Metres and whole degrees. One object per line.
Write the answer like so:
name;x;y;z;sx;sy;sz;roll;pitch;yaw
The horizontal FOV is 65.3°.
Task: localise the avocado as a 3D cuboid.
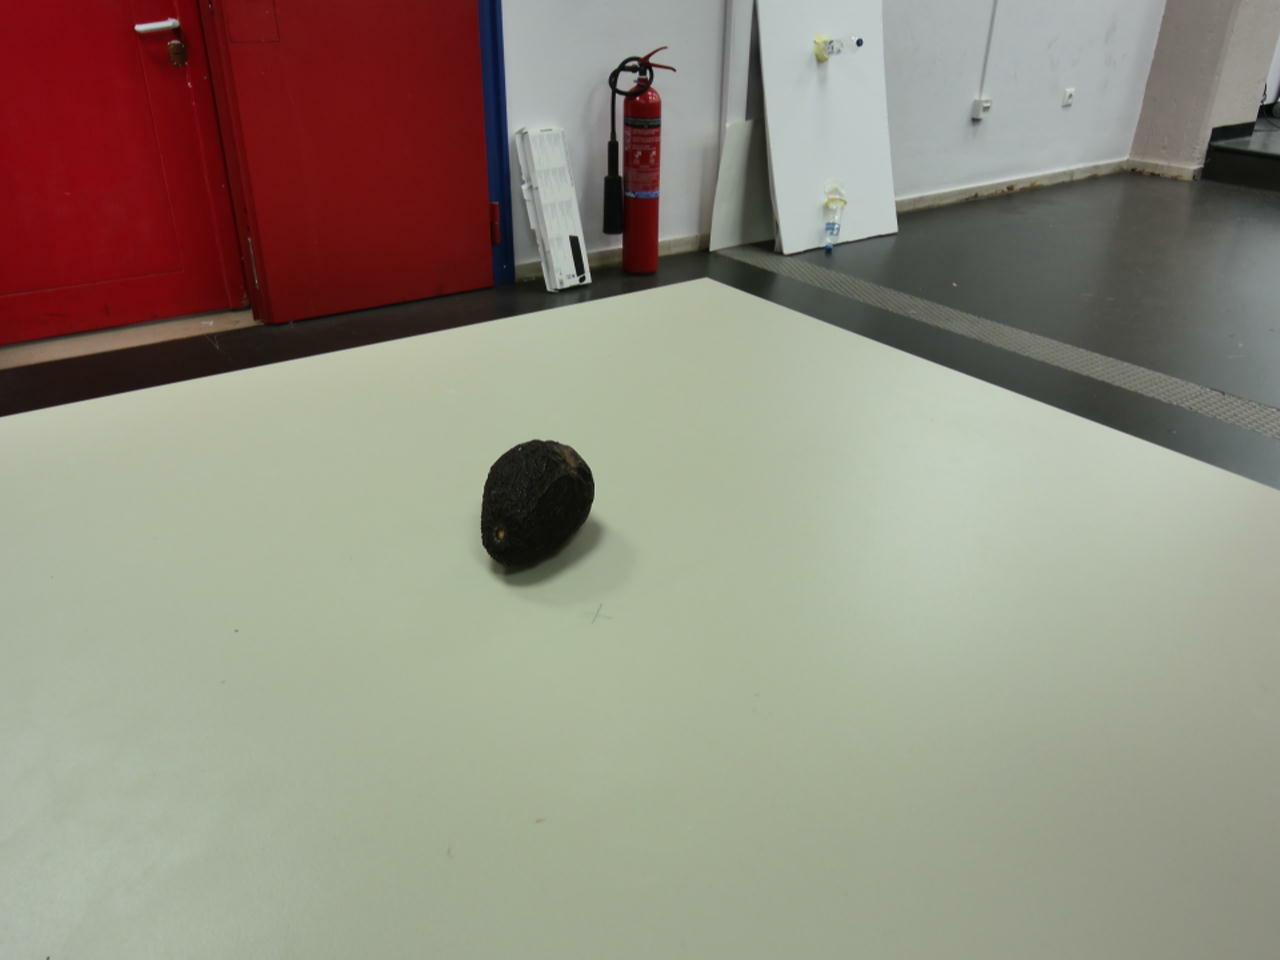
avocado;-0.063;0.012;0.579;0.062;0.062;0.092;14;30;26
